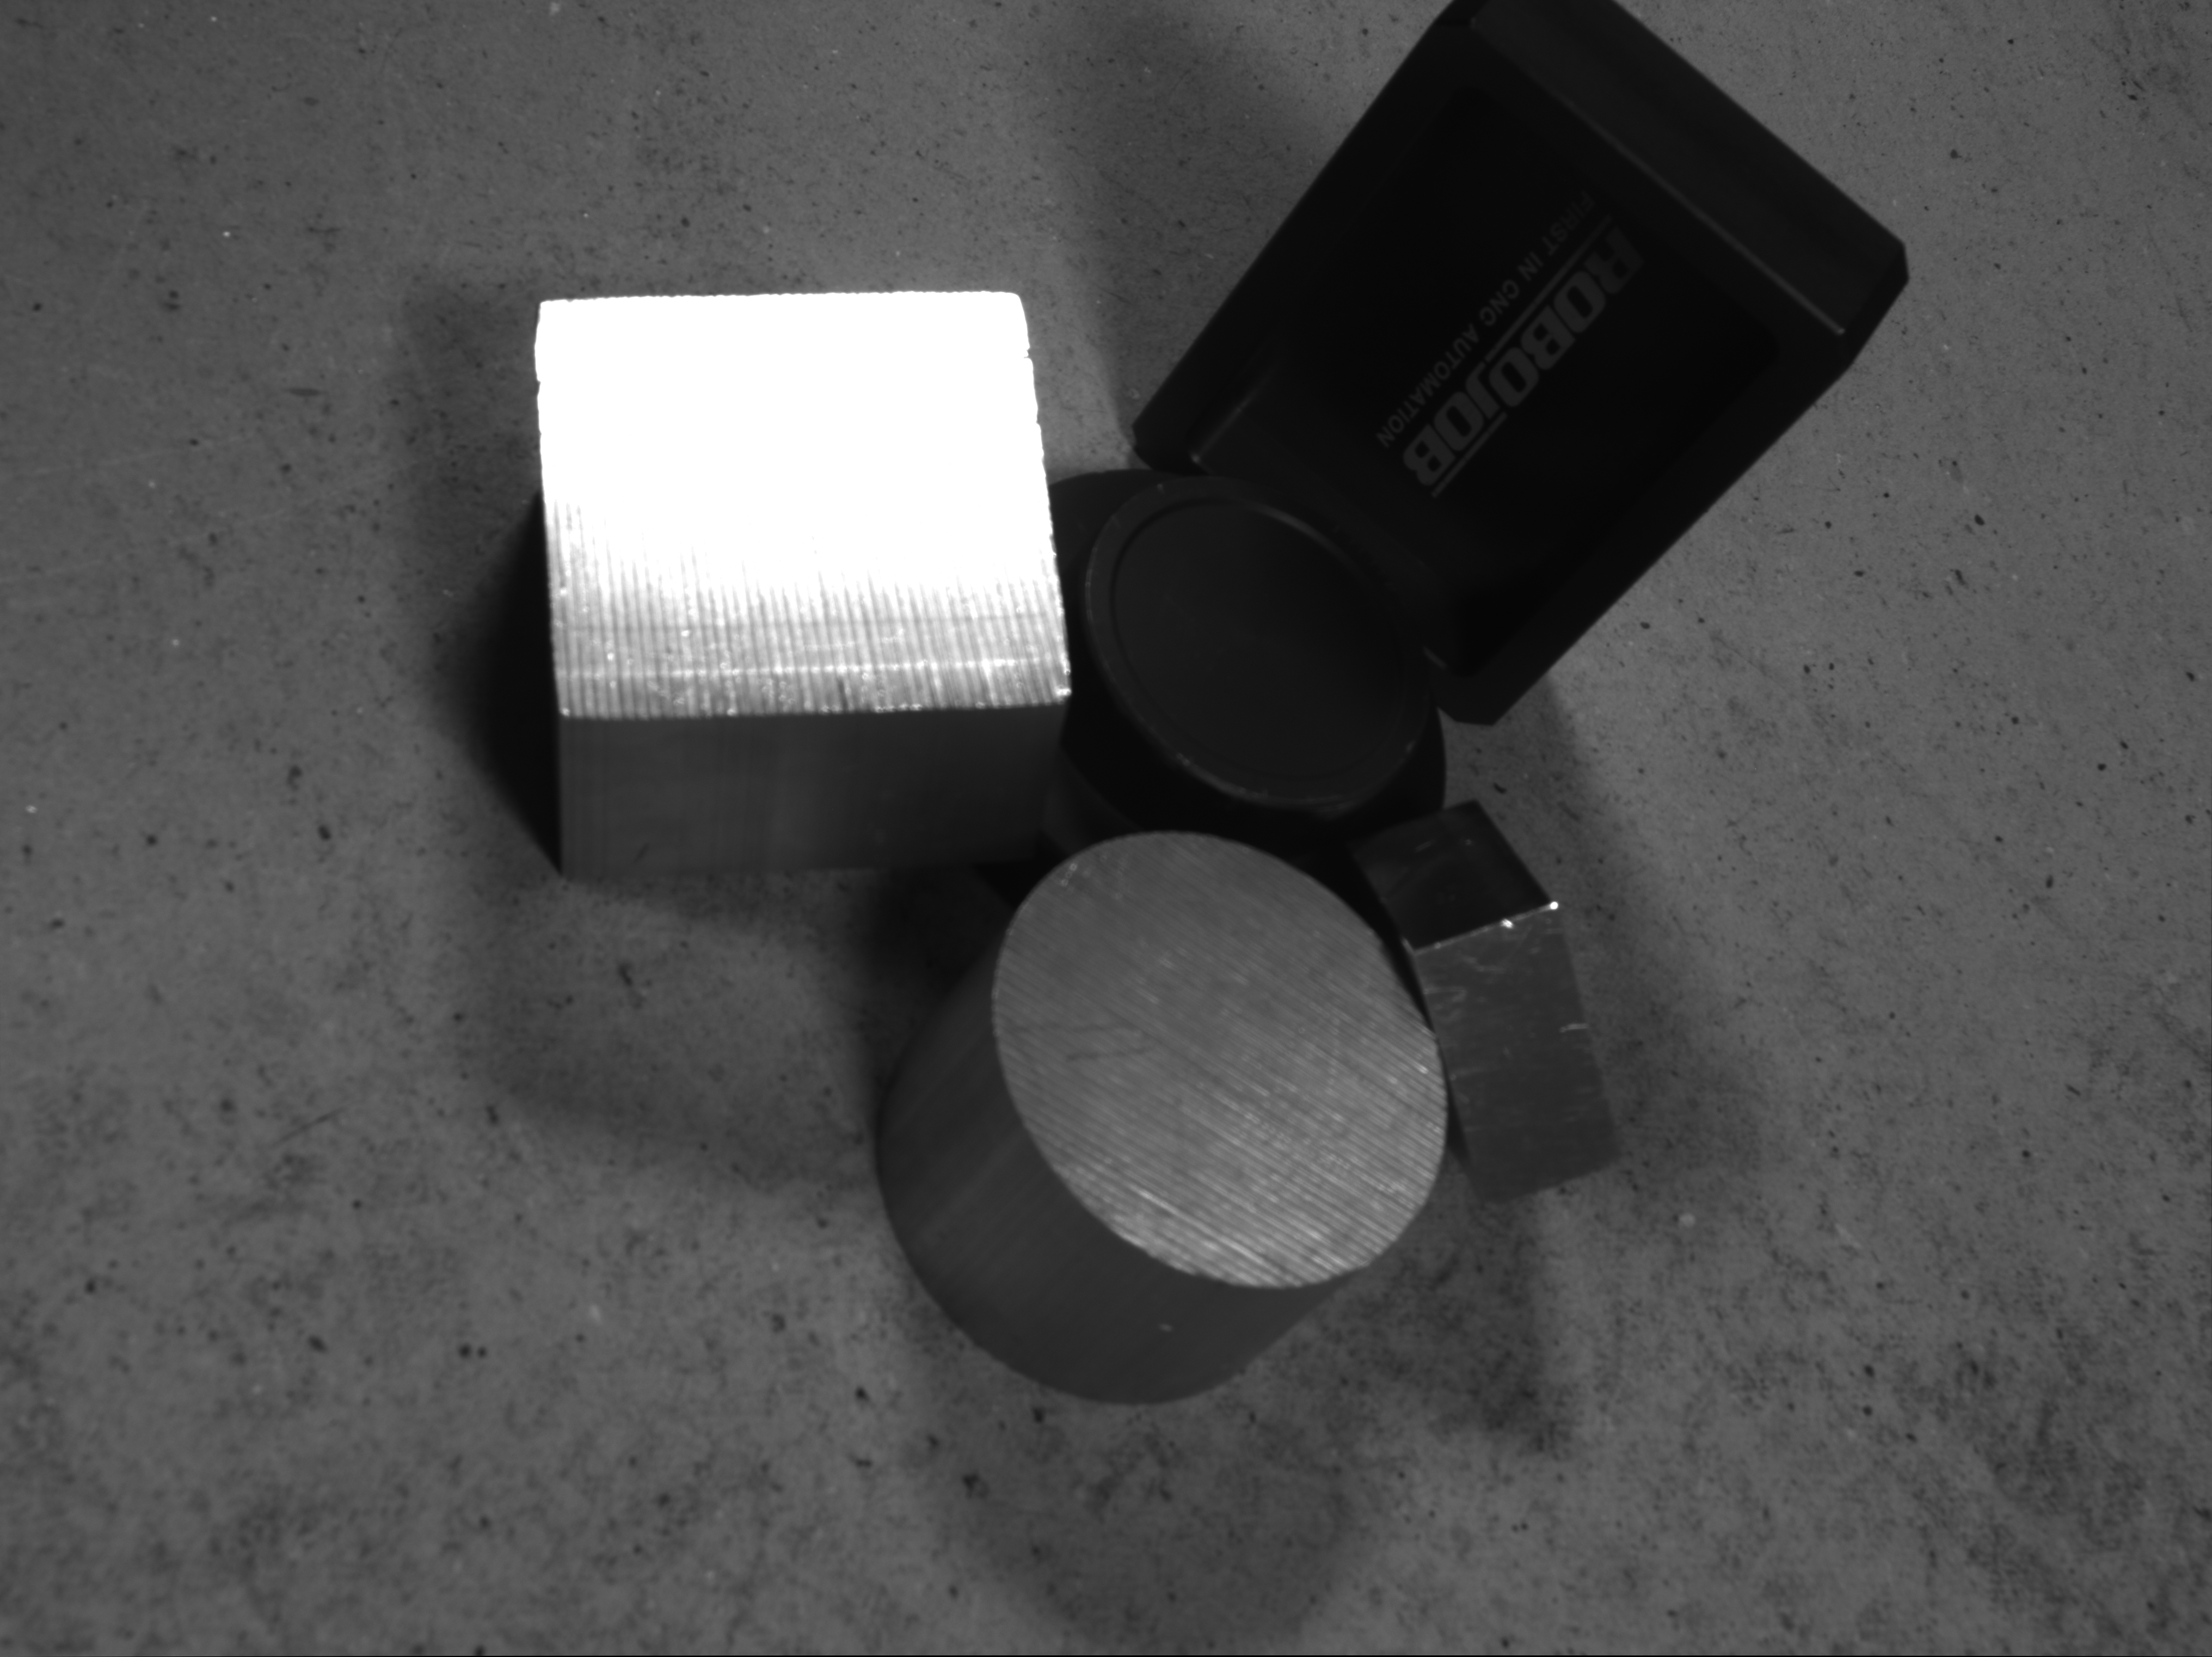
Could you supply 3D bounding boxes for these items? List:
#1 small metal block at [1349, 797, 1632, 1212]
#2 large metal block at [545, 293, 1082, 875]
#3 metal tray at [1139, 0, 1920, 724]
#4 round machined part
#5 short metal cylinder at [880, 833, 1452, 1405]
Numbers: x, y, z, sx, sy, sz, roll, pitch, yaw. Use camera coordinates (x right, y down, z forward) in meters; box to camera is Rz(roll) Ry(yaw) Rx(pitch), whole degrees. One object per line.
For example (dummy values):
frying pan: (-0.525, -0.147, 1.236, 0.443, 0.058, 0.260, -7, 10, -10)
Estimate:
small metal block: (0.065, 0.029, 0.627, 0.025, 0.050, 0.050, -19, 113, -3)
large metal block: (-0.051, -0.041, 0.606, 0.080, 0.050, 0.080, -2, 61, -10)
metal tray: (0.073, -0.086, 0.662, 0.090, 0.130, 0.030, 39, 51, -2)
round machined part: (0.019, -0.024, 0.655, 0.098, 0.042, 0.098, 14, 56, -21)
short metal cylinder: (0.009, 0.048, 0.600, 0.080, 0.050, 0.080, 14, 56, -21)
